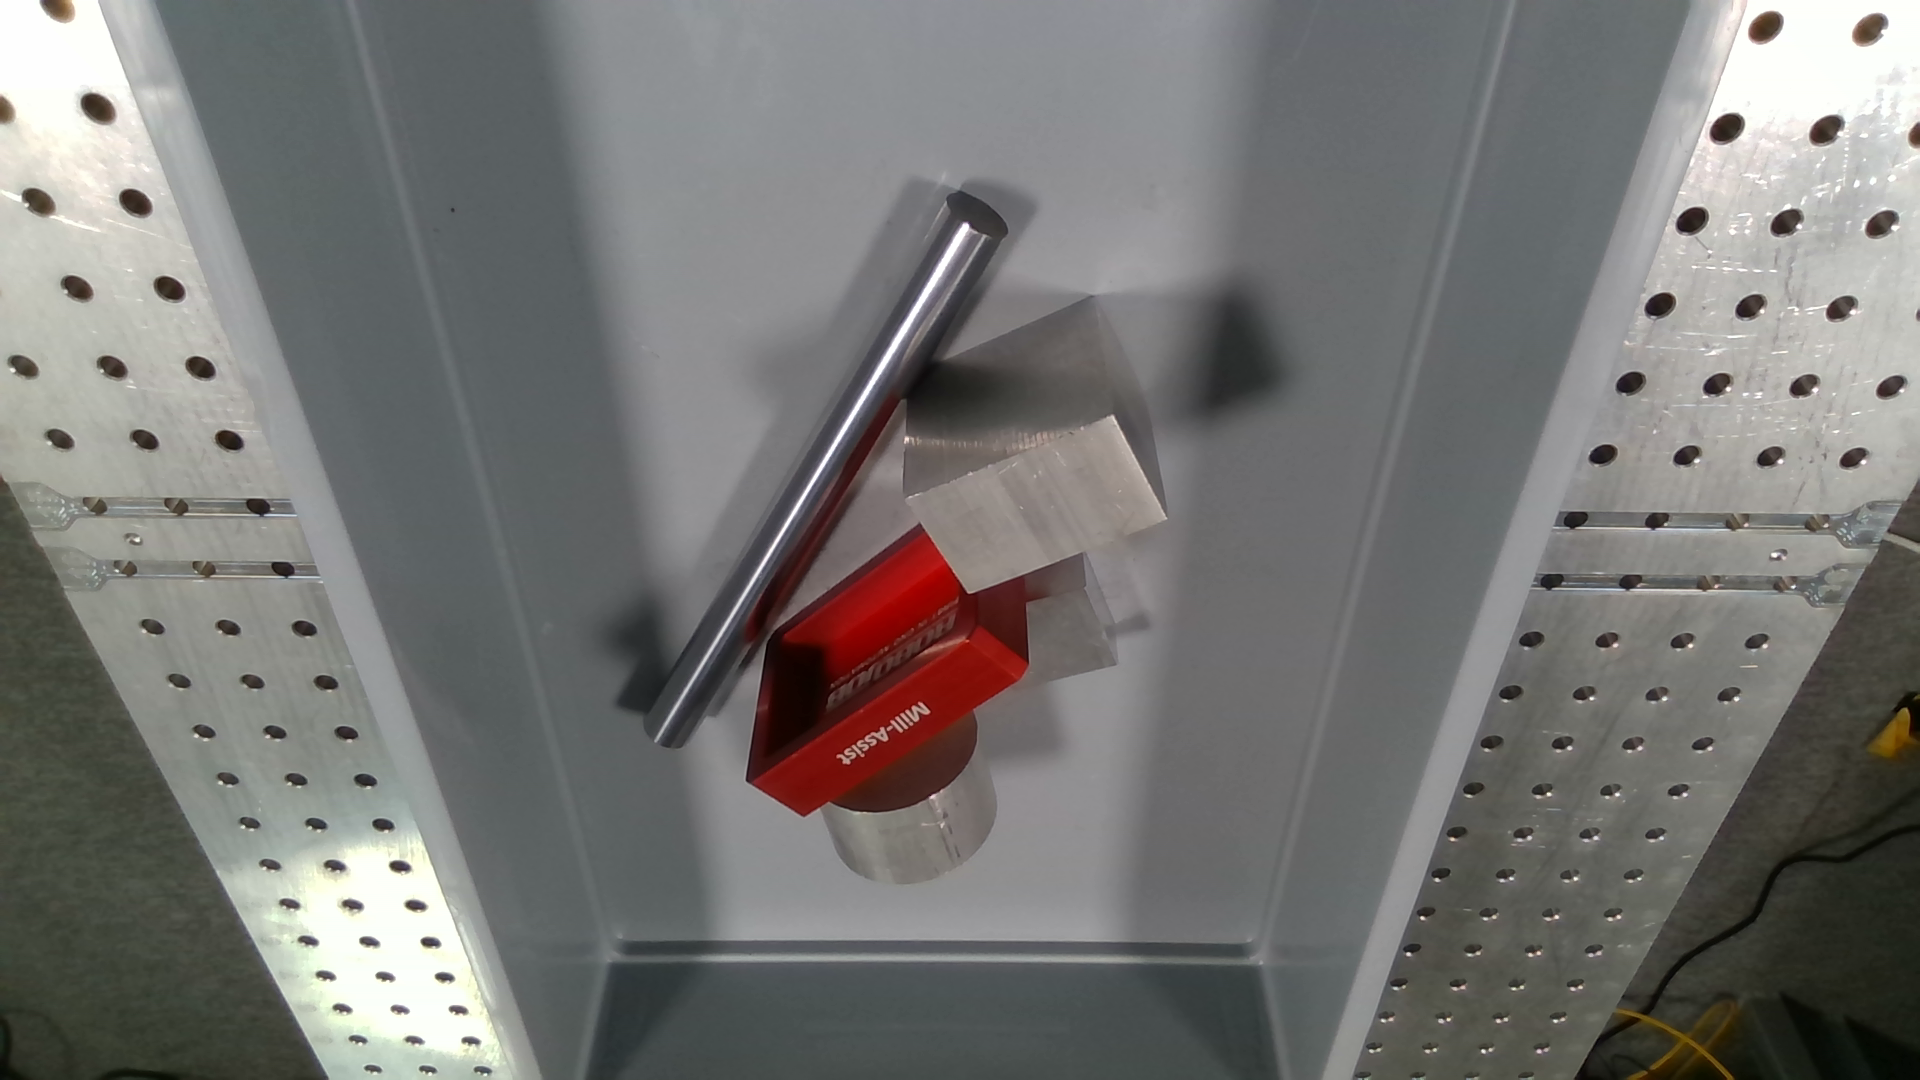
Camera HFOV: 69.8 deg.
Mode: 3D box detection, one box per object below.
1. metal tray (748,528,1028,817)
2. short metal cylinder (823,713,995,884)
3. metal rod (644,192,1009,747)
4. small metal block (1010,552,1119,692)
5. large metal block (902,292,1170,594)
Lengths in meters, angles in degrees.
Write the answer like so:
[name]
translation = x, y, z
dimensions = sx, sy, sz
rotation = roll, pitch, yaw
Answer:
[metal tray]
translation = -0.031, 0.047, 0.574
dimensions = 0.130, 0.090, 0.030
rotation = -36, 122, 26
[short metal cylinder]
translation = -0.027, 0.110, 0.634
dimensions = 0.080, 0.080, 0.050
rotation = -9, 129, 7
[metal rod]
translation = -0.066, -0.013, 0.567
dimensions = 0.025, 0.025, 0.301
rotation = 23, 126, -18
[small metal block]
translation = 0.038, 0.036, 0.606
dimensions = 0.050, 0.025, 0.050
rotation = -16, 128, 13
[large metal block]
translation = 0.027, -0.036, 0.511
dimensions = 0.080, 0.080, 0.050
rotation = -21, 127, 17
